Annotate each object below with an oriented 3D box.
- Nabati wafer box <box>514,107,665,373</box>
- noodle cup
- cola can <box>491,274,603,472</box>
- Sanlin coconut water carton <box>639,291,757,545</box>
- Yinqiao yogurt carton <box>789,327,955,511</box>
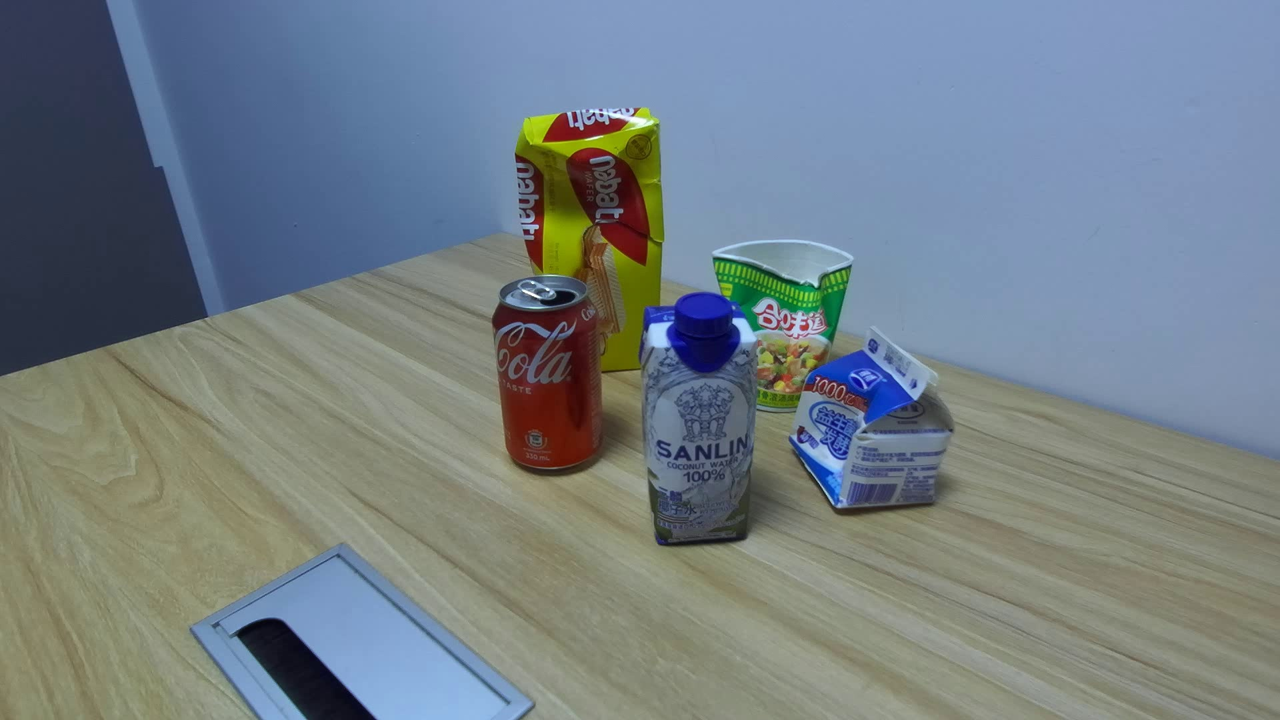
[{"bbox_3d":[-0.036,-0.085,0.543,0.107,0.204,0.042,-4,26,-8],"label":"Nabati wafer box"},{"bbox_3d":[0.107,-0.026,0.528,0.075,0.122,0.082,-15,21,-40],"label":"noodle cup"},{"bbox_3d":[-0.059,0.008,0.458,0.068,0.120,0.068,0,28,0],"label":"cola can"},{"bbox_3d":[0.032,0.029,0.386,0.060,0.144,0.060,-4,27,-5],"label":"Sanlin coconut water carton"},{"bbox_3d":[0.144,0.033,0.432,0.071,0.094,0.077,-1,28,-13],"label":"Yinqiao yogurt carton"}]
